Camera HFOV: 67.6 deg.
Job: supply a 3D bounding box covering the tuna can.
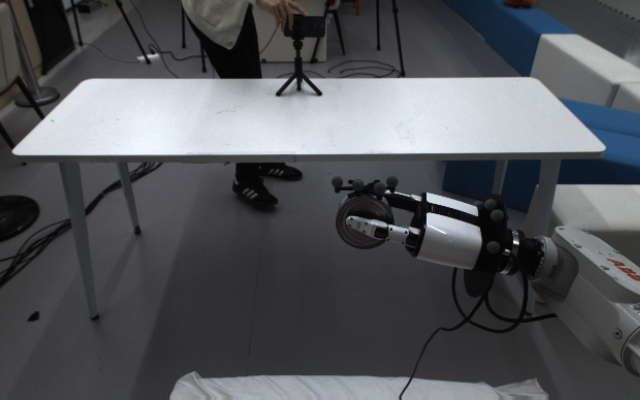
[{"bbox_3d":[0.068,0.029,0.724,0.085,0.085,0.034,4,17,3],"label":"tuna can"}]
